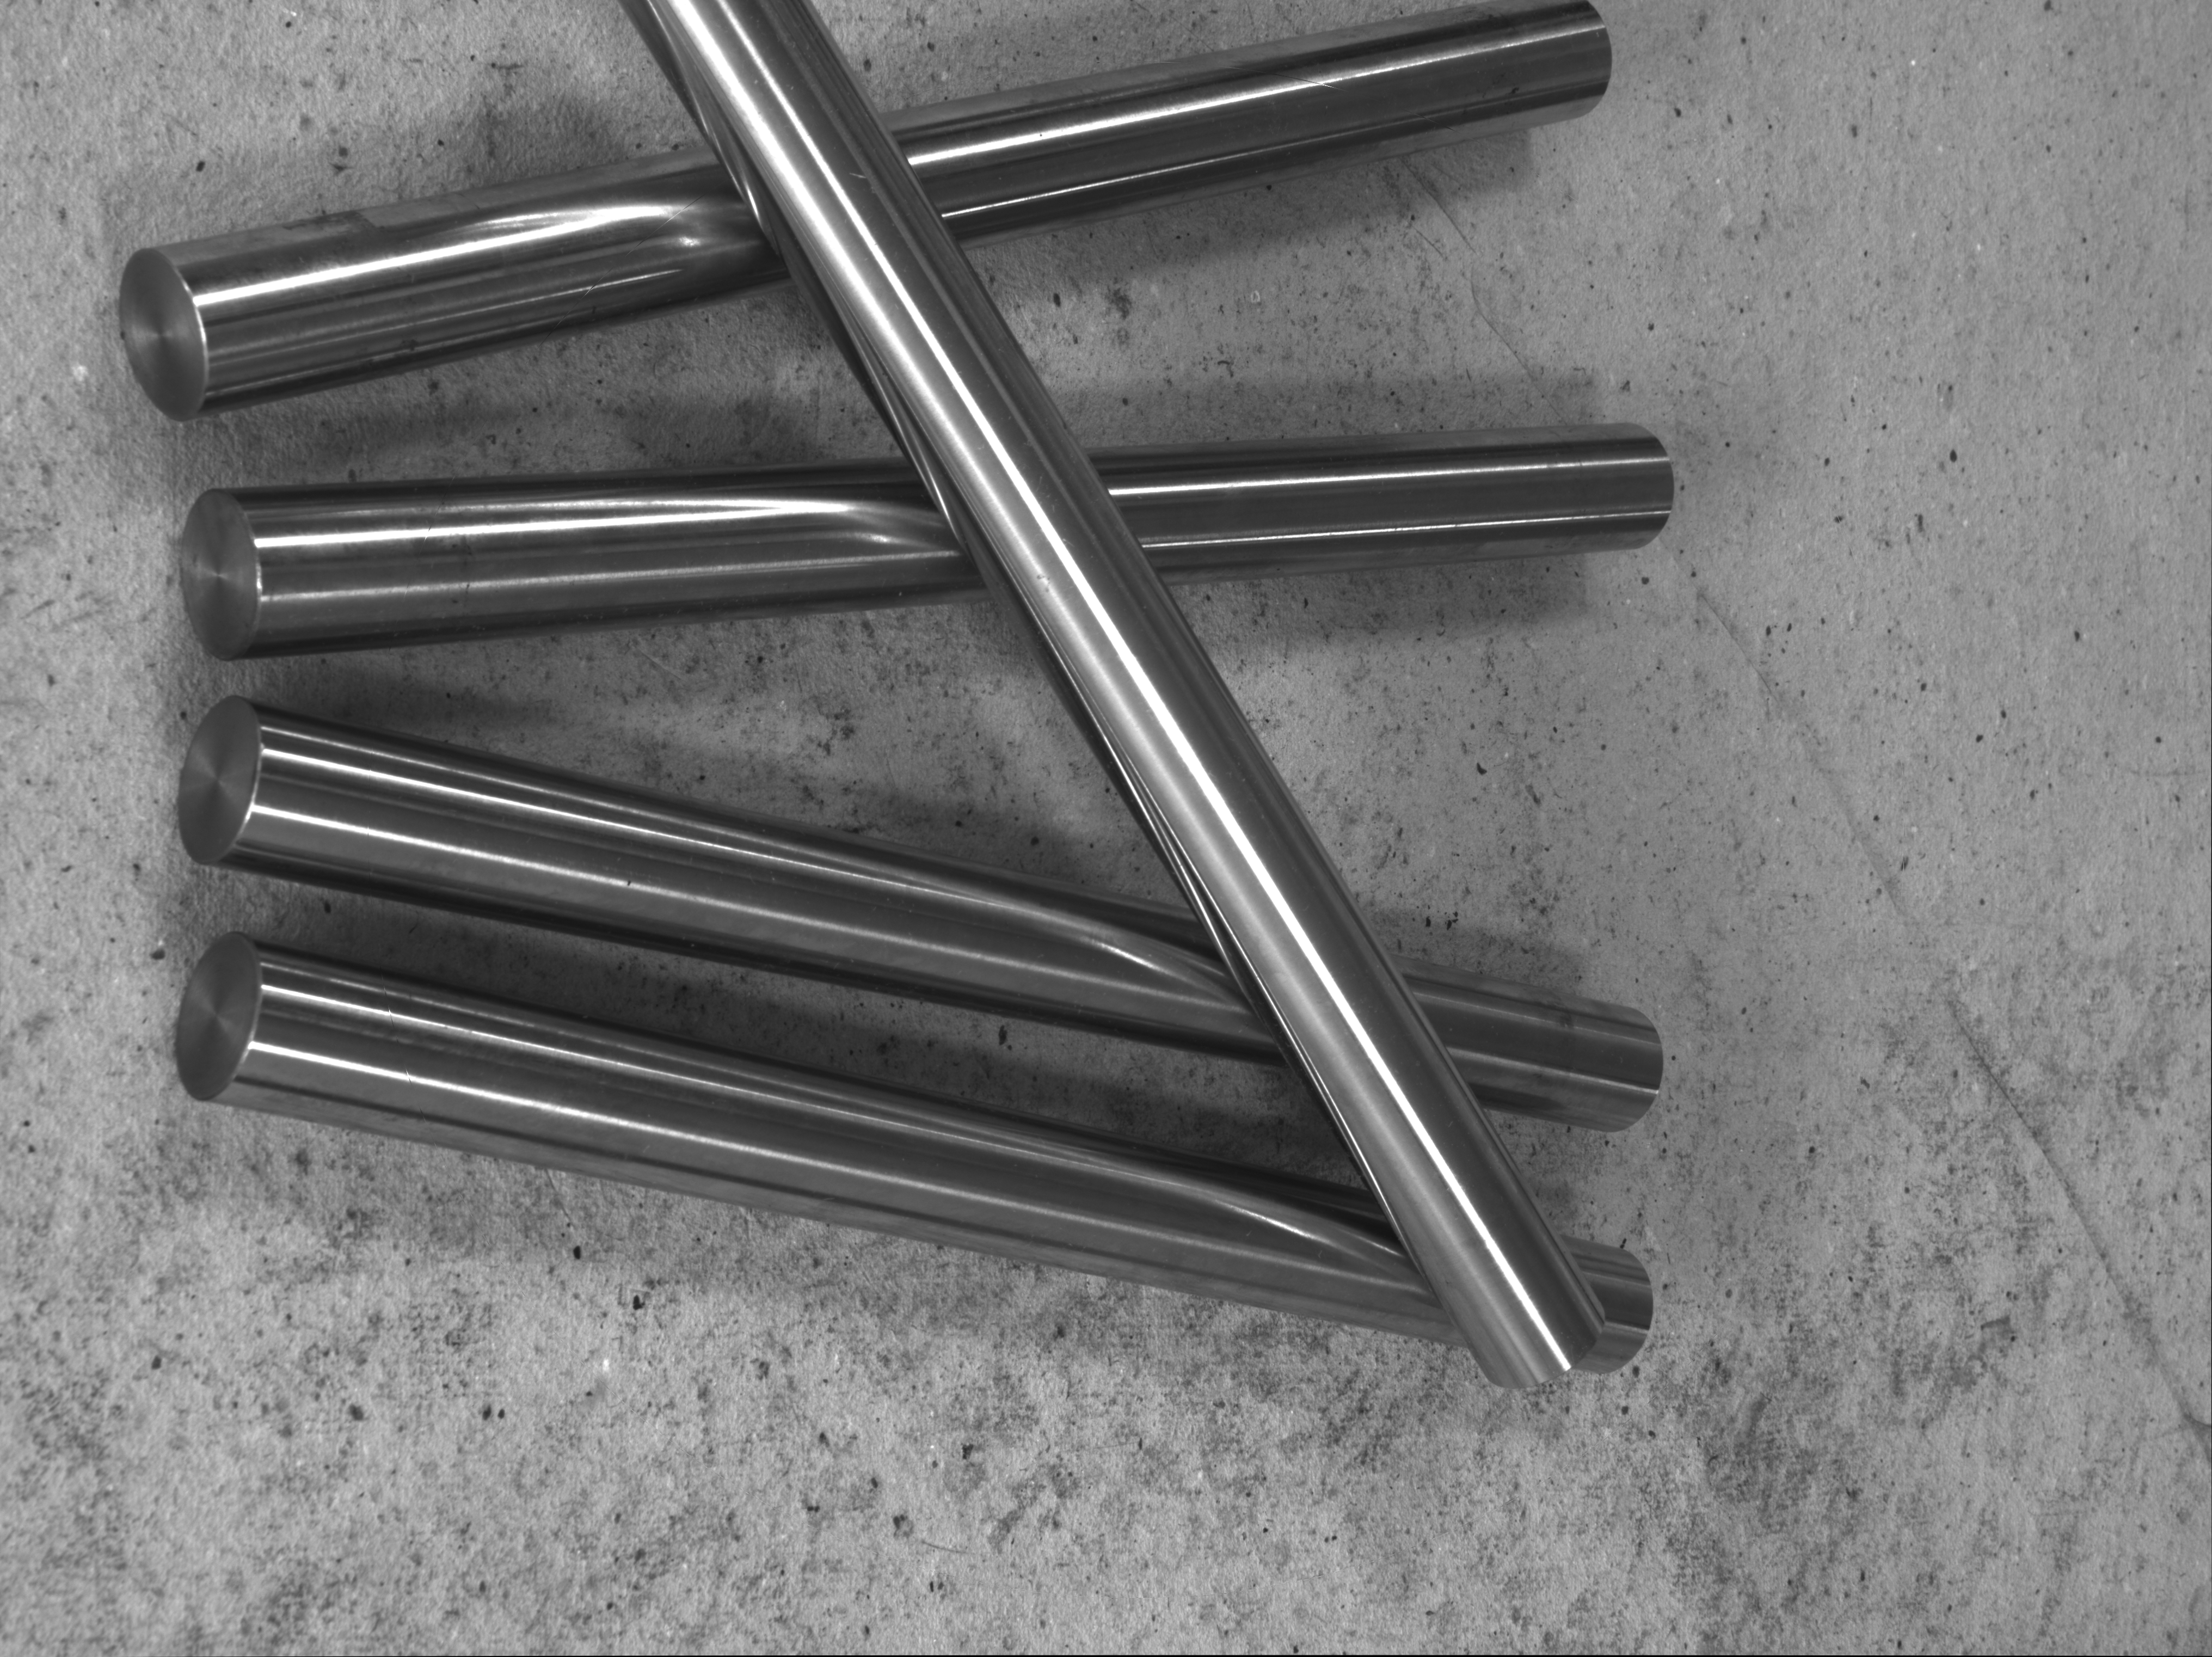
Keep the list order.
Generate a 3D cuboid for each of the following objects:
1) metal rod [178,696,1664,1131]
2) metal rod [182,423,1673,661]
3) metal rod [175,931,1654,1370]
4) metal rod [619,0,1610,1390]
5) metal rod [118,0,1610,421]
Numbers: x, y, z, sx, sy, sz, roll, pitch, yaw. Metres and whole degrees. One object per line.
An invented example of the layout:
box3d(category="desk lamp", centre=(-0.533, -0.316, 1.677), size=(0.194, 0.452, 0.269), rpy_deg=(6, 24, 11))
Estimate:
box3d(category="metal rod", centre=(-0.014, 0.020, 0.624), size=(0.301, 0.025, 0.025), rpy_deg=(13, 81, -39))
box3d(category="metal rod", centre=(-0.013, -0.052, 0.626), size=(0.301, 0.025, 0.025), rpy_deg=(-8, 95, -40))
box3d(category="metal rod", centre=(-0.015, 0.060, 0.623), size=(0.301, 0.025, 0.025), rpy_deg=(16, 80, -39))
box3d(category="metal rod", centre=(0.007, -0.022, 0.608), size=(0.025, 0.025, 0.301), rpy_deg=(-47, 118, -29))
box3d(category="metal rod", centre=(-0.024, -0.110, 0.617), size=(0.301, 0.025, 0.025), rpy_deg=(-20, 102, -38))
